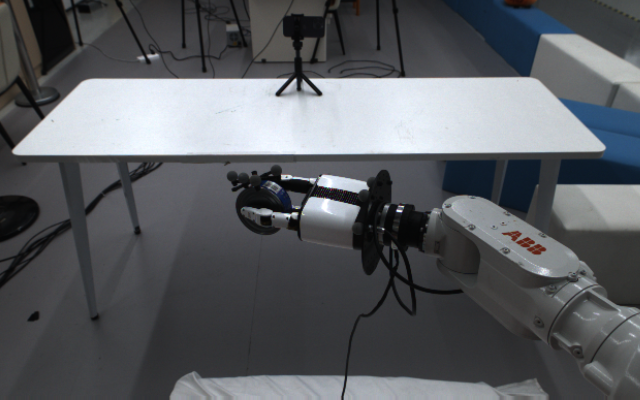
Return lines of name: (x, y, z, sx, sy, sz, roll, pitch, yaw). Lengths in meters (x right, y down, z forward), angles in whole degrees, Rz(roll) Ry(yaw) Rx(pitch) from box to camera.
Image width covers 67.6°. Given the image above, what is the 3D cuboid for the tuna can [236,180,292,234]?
tuna can: (-0.083, 0.012, 0.774, 0.085, 0.085, 0.034, 13, 28, 15)
